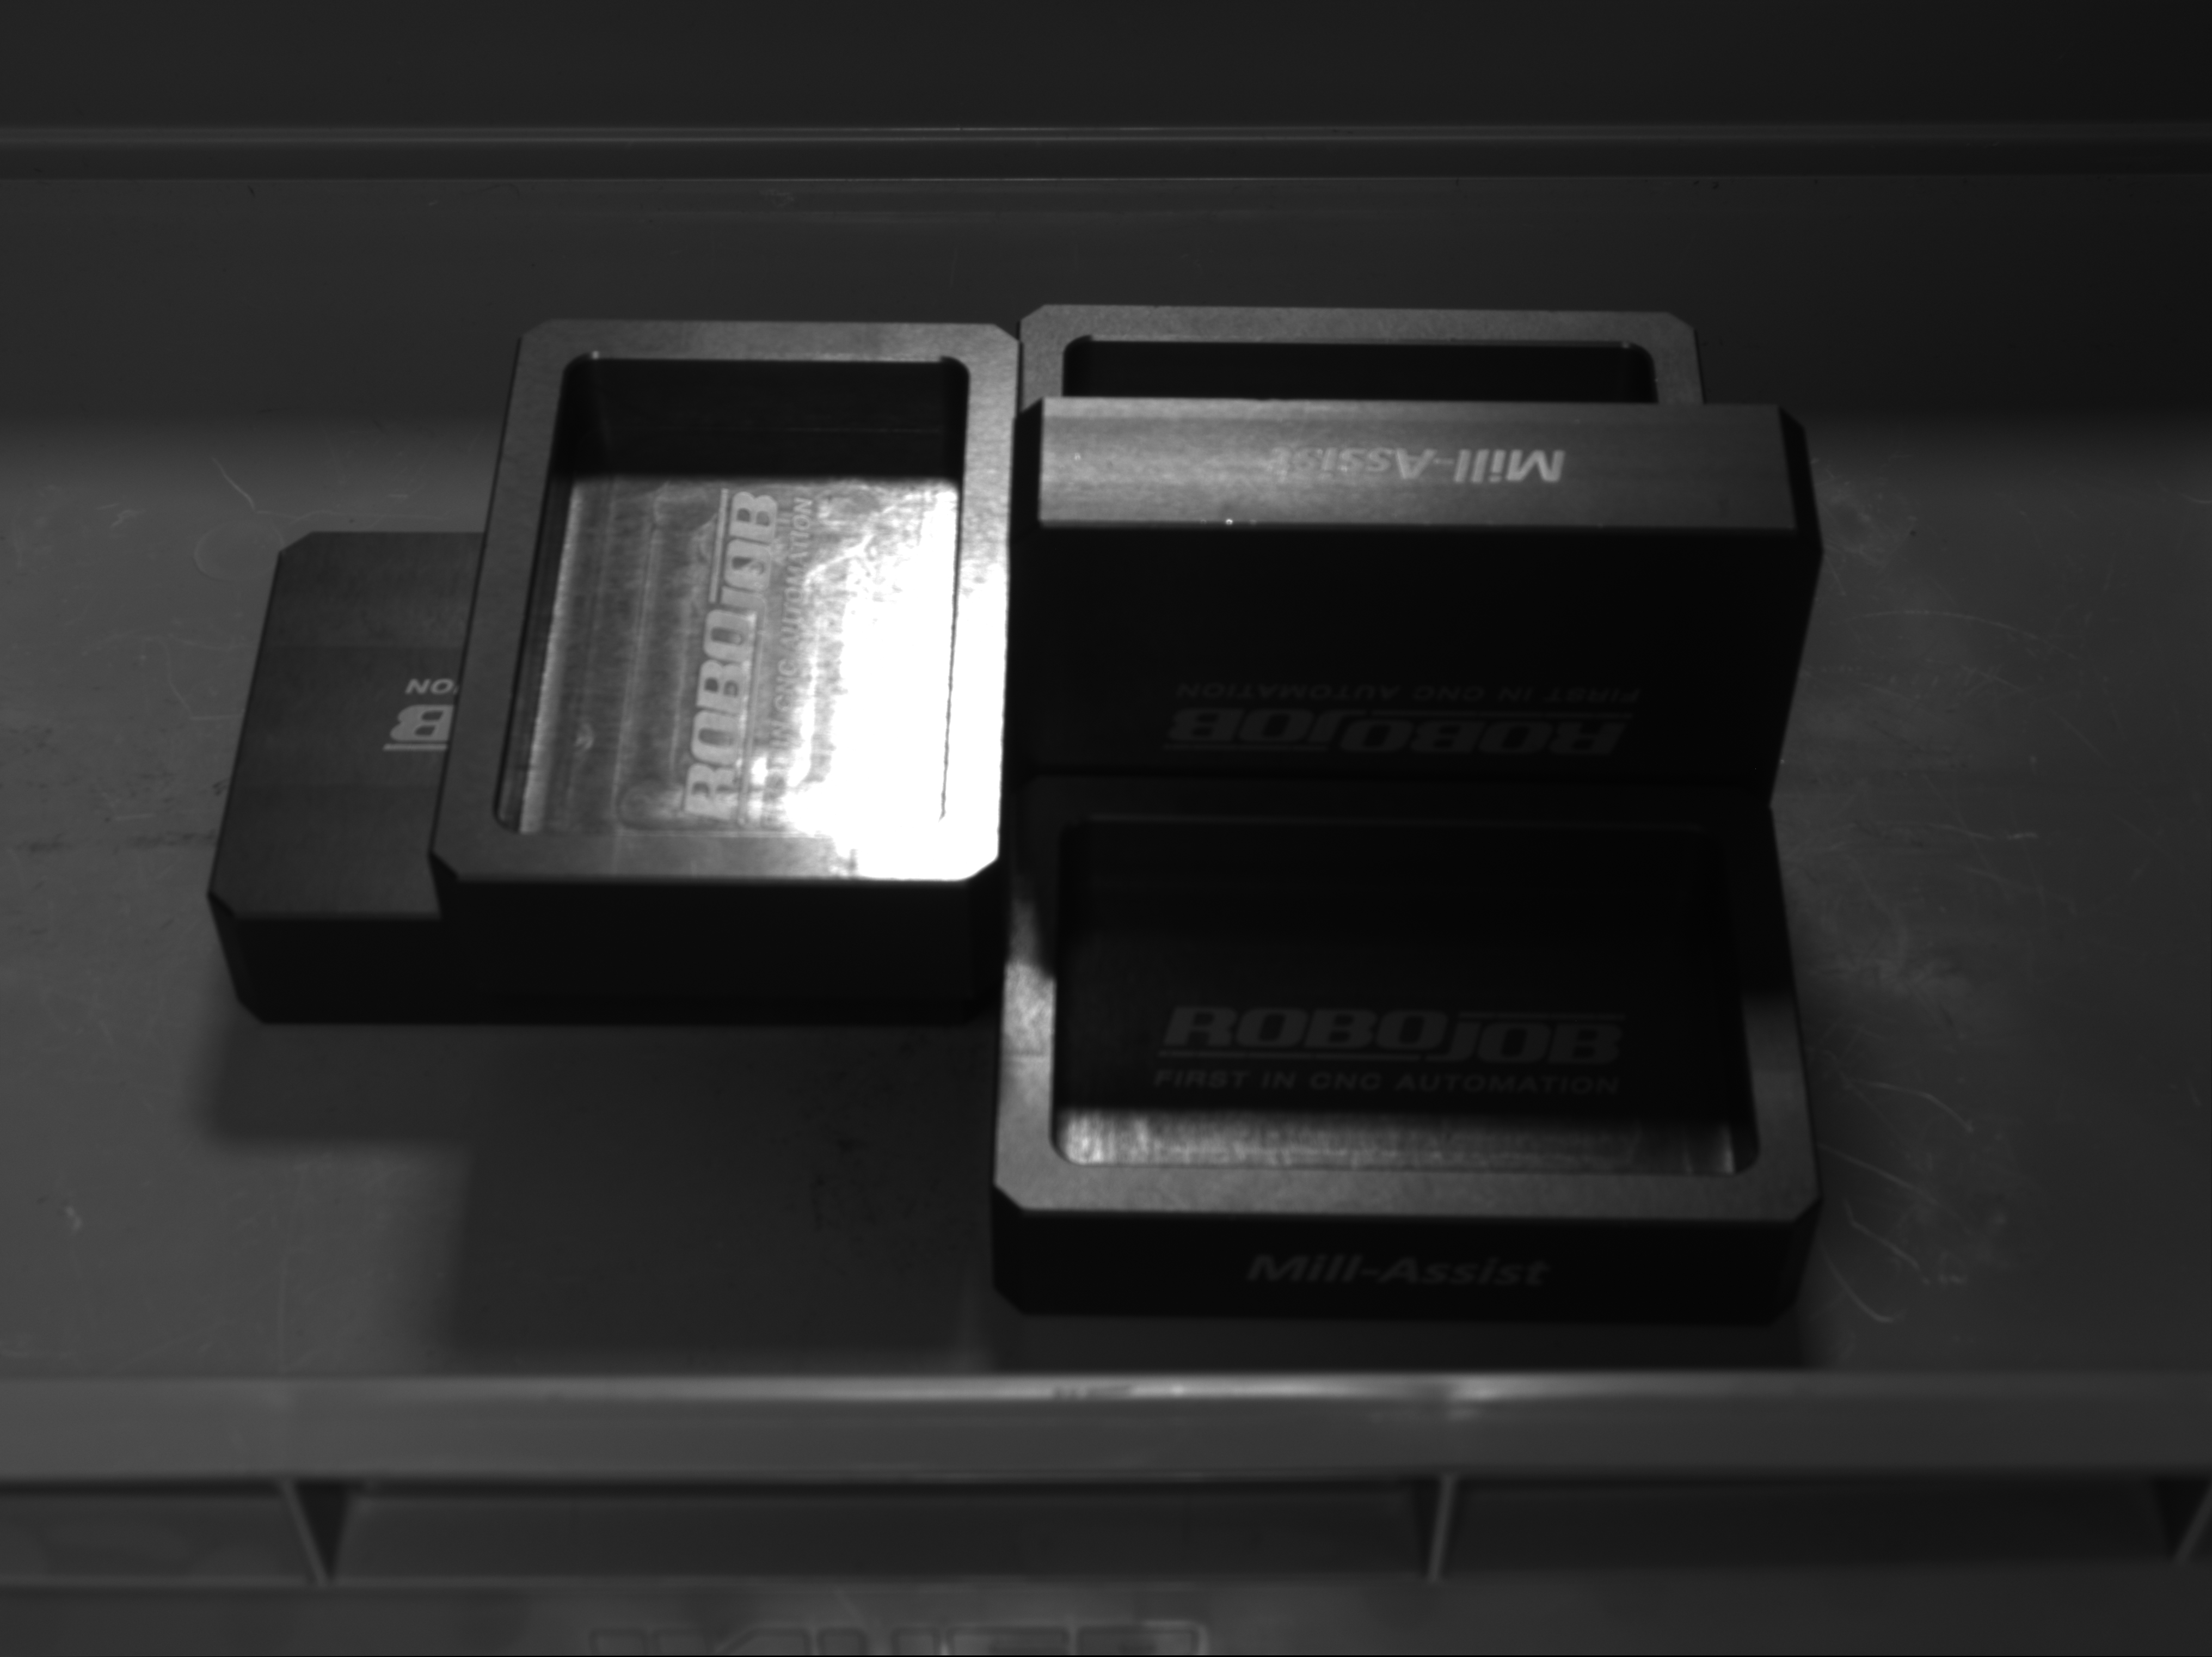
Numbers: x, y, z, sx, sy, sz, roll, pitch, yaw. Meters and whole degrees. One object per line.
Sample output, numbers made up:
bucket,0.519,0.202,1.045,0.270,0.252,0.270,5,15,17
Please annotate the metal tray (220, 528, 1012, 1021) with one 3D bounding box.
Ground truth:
metal tray,-0.082,-0.011,0.644,0.130,0.030,0.090,0,50,0

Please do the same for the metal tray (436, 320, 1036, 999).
metal tray,-0.059,-0.032,0.624,0.090,0.030,0.130,1,50,1

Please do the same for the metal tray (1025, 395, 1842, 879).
metal tray,0.052,-0.030,0.623,0.130,0.090,0.030,1,50,1

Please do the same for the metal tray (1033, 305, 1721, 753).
metal tray,0.050,-0.057,0.686,0.130,0.030,0.090,1,50,1

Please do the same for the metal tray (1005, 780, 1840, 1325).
metal tray,0.050,0.036,0.607,0.130,0.030,0.090,1,50,0
